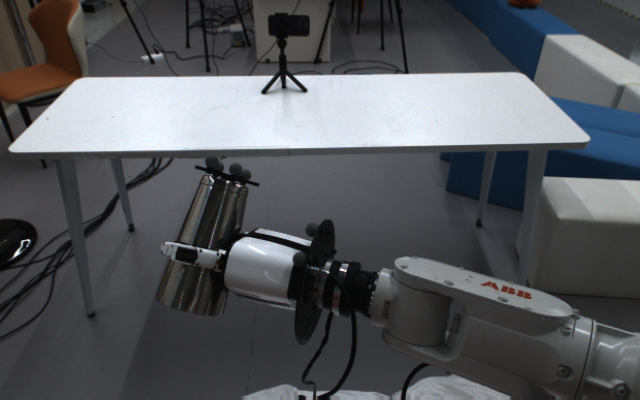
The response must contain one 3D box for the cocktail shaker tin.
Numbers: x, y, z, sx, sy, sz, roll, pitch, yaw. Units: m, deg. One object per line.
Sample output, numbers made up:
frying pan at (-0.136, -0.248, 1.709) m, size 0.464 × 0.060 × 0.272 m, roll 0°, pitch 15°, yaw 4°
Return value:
cocktail shaker tin at (-0.149, 0.058, 0.645) m, size 0.093 × 0.170 × 0.093 m, roll 15°, pitch -4°, yaw 1°
